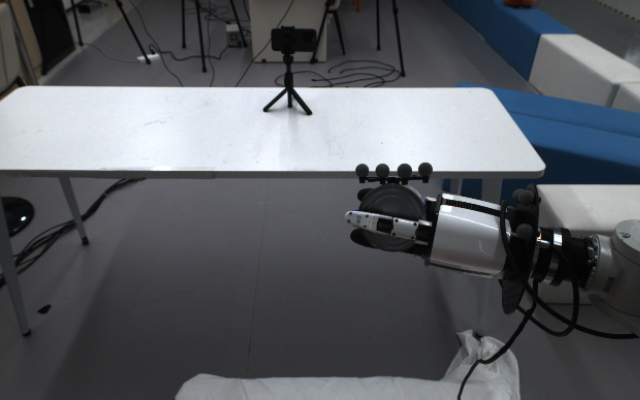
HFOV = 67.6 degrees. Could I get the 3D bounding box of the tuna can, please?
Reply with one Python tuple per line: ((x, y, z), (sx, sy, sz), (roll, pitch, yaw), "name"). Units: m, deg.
((0.094, 0.019, 0.614), (0.085, 0.085, 0.034), (15, 10, 18), "tuna can")
